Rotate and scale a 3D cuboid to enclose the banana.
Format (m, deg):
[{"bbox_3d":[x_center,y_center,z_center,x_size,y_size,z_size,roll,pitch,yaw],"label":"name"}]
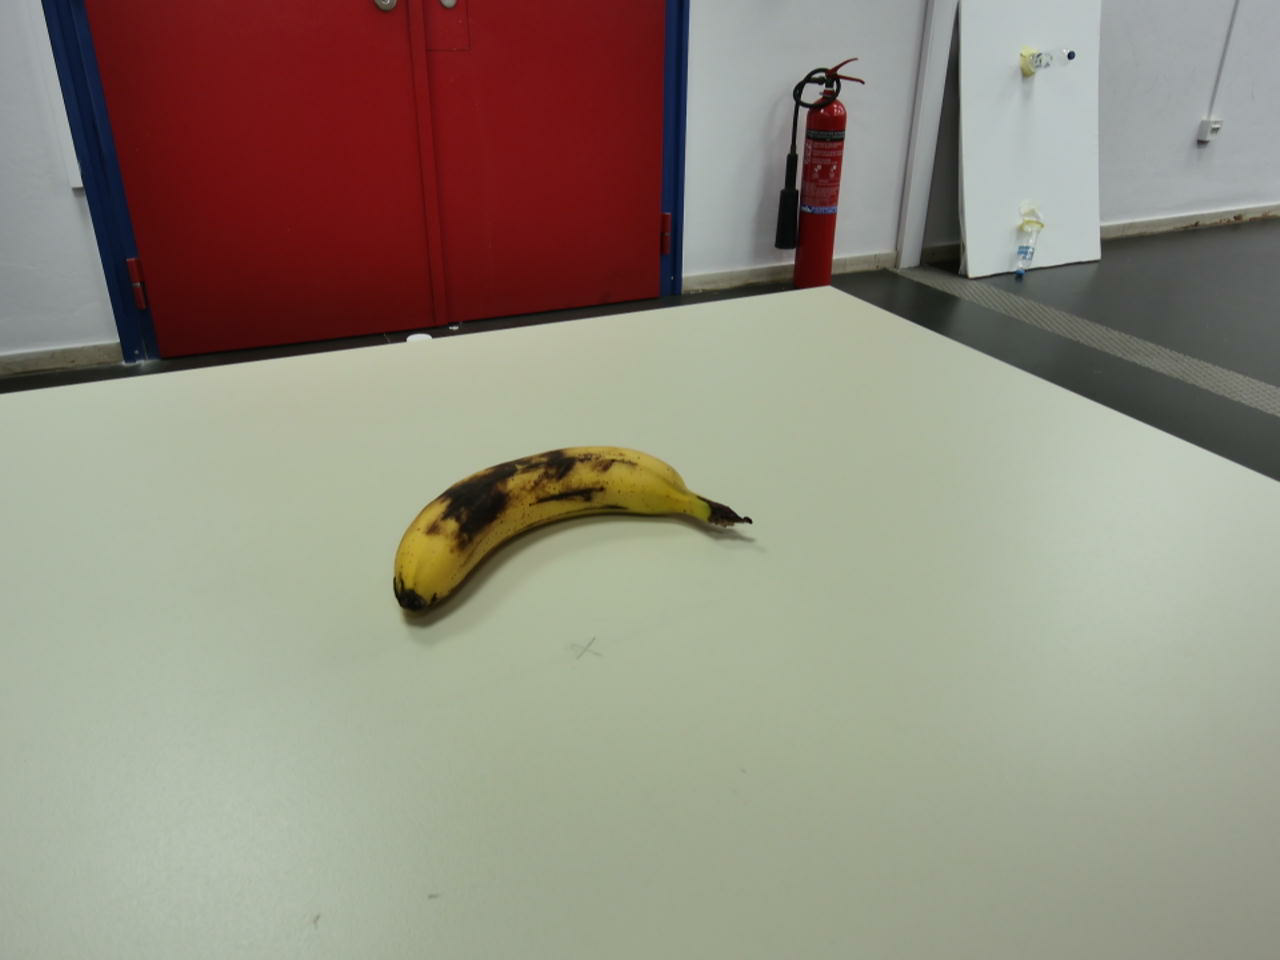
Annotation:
[{"bbox_3d":[-0.046,0.017,0.525,0.187,0.039,0.094,-12,28,-25],"label":"banana"}]
